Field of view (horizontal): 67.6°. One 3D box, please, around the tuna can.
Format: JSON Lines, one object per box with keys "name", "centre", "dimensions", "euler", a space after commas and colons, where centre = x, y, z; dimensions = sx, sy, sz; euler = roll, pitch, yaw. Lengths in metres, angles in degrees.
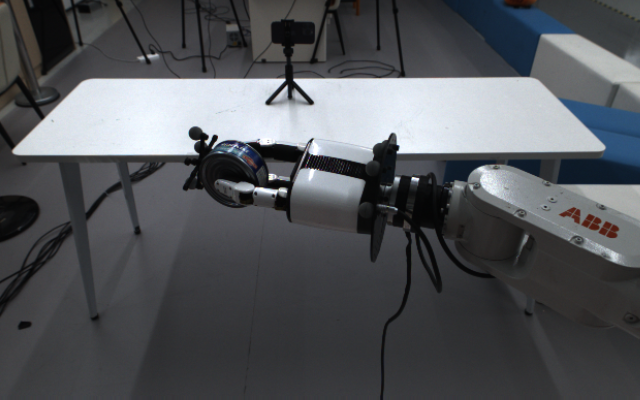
{"name": "tuna can", "centre": [-0.111, -0.034, 0.628], "dimensions": [0.085, 0.085, 0.034], "euler": [11, 35, 13]}
